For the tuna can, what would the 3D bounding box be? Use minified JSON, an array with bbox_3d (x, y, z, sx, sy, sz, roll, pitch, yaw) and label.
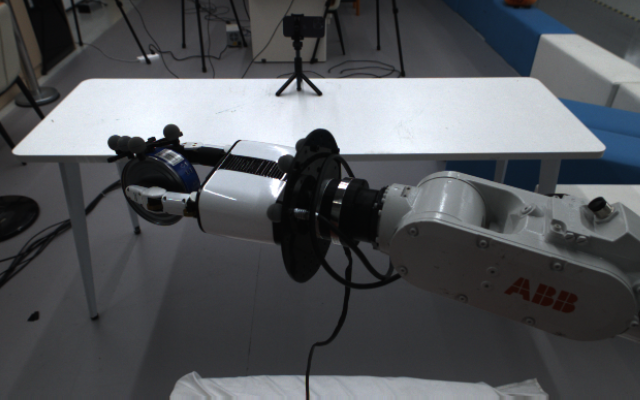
[{"bbox_3d":[-0.177,-0.014,0.554,0.085,0.085,0.034,13,28,15],"label":"tuna can"}]
